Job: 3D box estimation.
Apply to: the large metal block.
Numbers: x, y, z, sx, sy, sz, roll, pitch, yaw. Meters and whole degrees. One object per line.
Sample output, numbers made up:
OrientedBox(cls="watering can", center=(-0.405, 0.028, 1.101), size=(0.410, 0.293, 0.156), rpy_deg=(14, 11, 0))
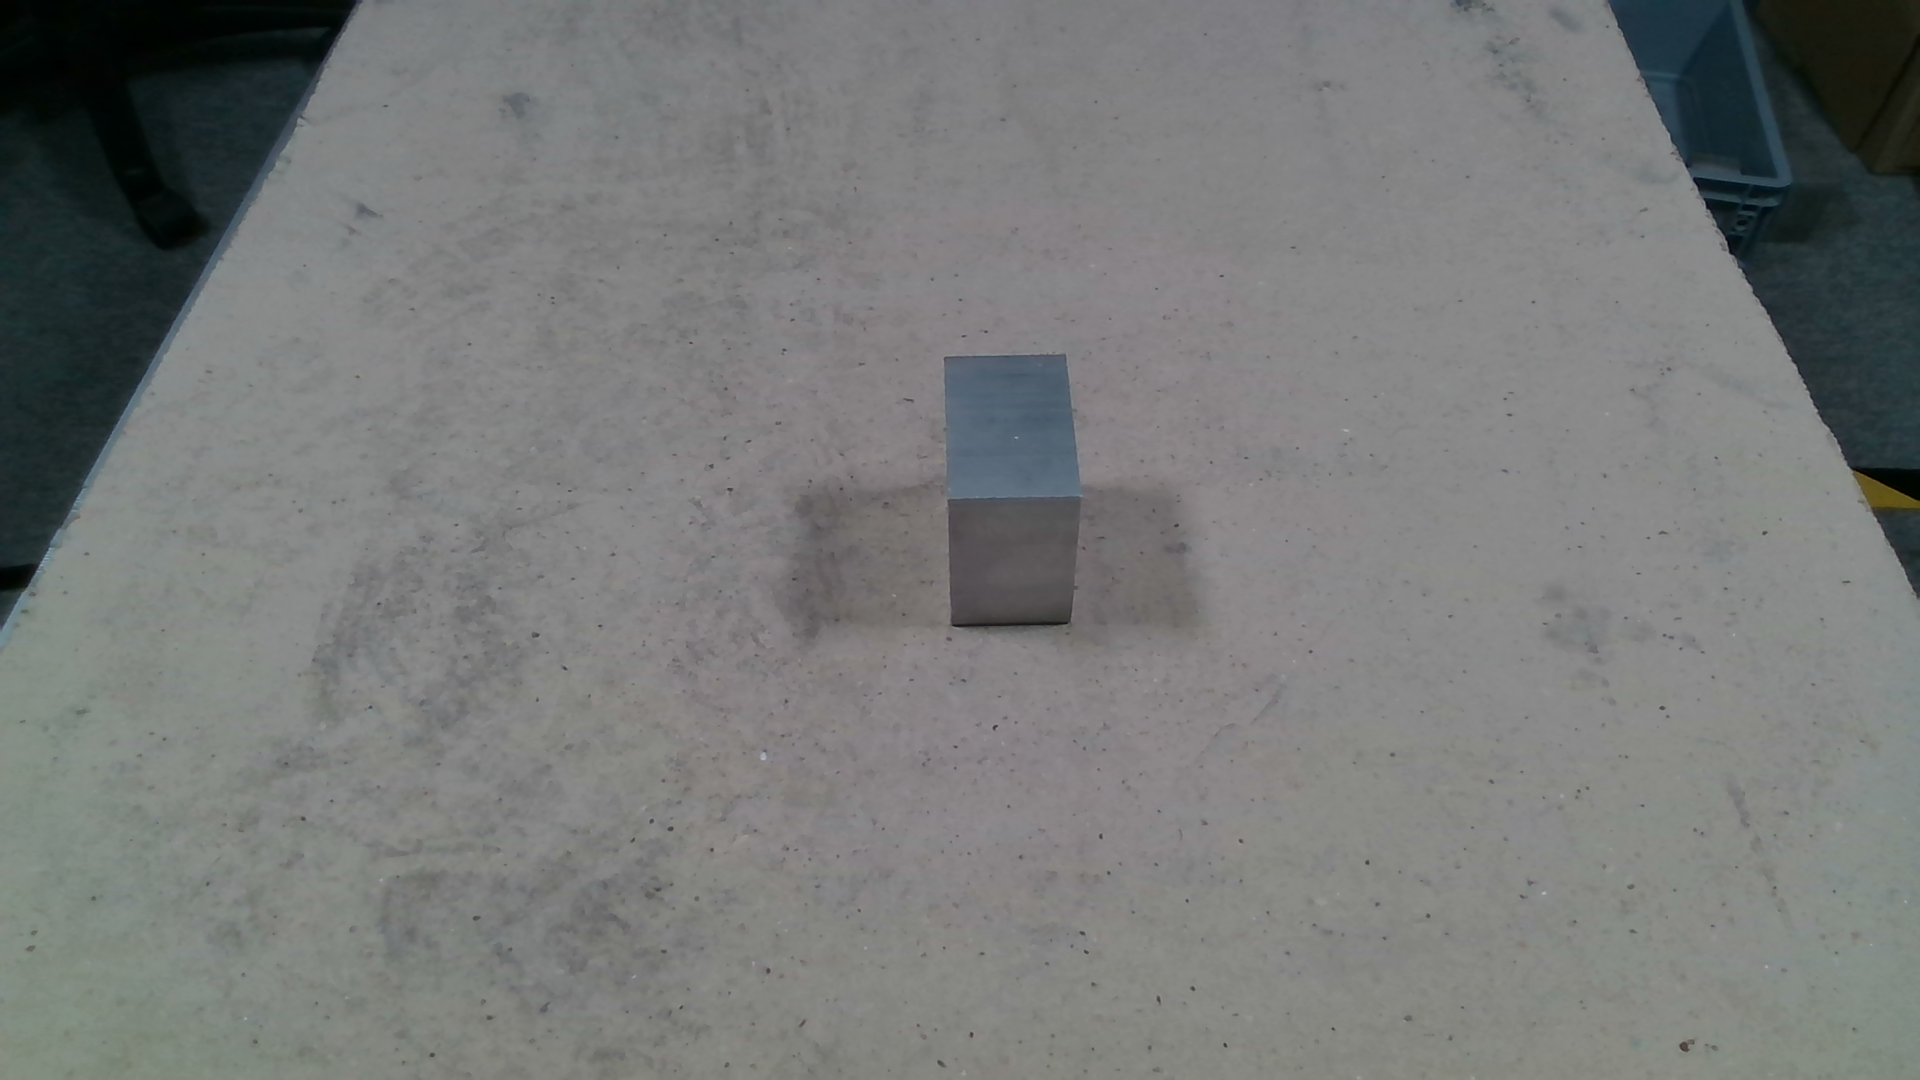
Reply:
OrientedBox(cls="large metal block", center=(0.019, -0.020, 0.569), size=(0.050, 0.080, 0.080), rpy_deg=(-1, 50, -1))
